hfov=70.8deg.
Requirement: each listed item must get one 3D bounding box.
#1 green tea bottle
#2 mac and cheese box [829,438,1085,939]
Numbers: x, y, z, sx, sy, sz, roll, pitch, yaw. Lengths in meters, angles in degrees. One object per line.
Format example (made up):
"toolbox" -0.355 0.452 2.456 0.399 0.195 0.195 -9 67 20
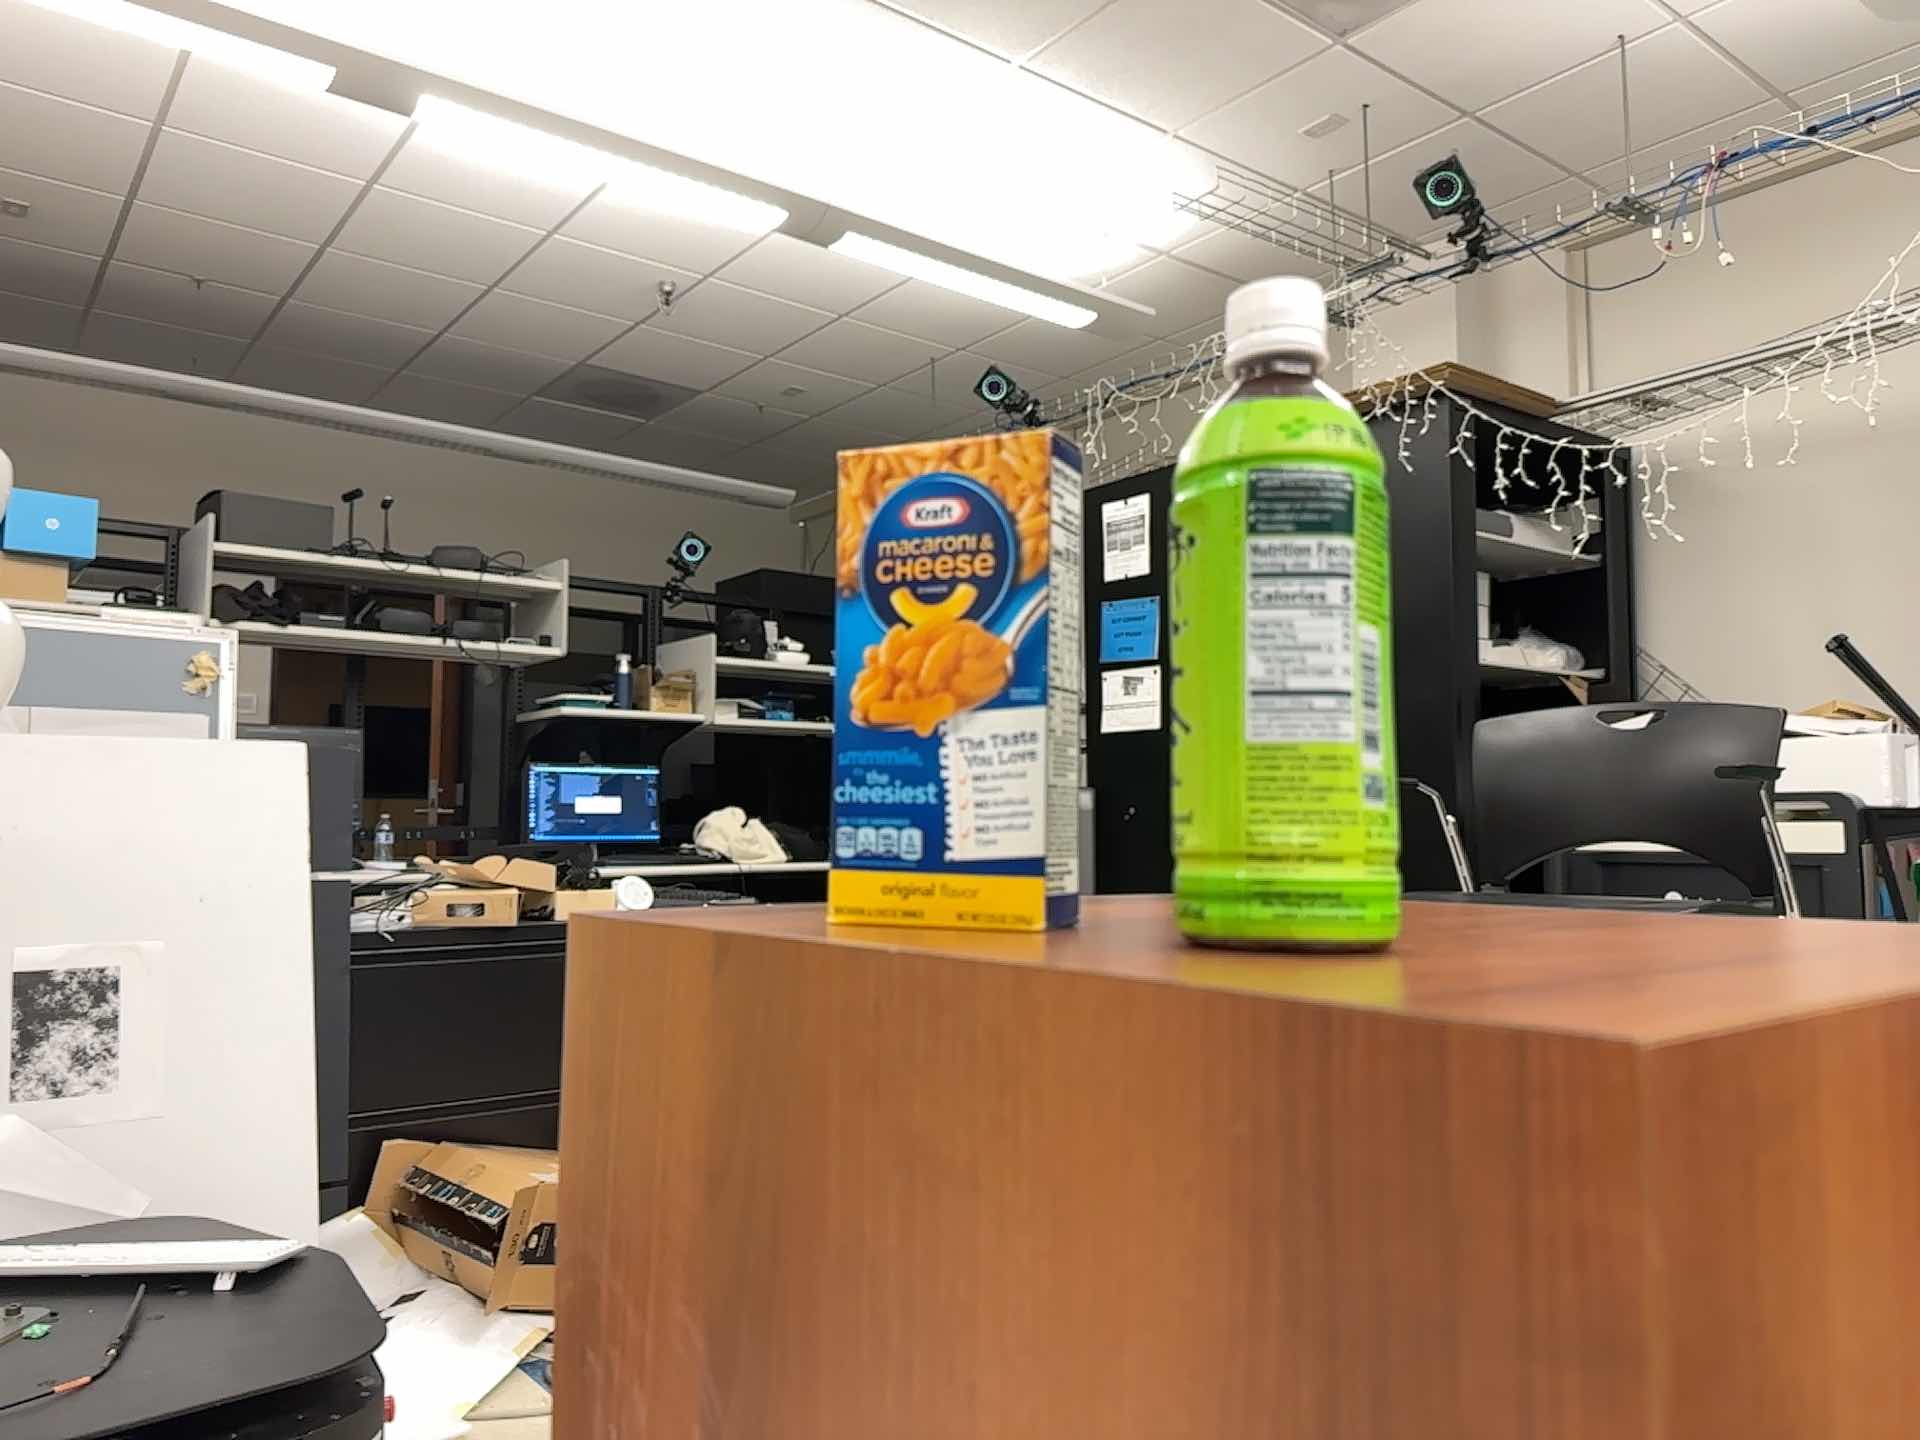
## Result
"green tea bottle" 0.102 -0.036 0.434 0.073 0.212 0.073 3 -7 0
"mac and cheese box" -0.001 -0.009 0.518 0.088 0.181 0.035 -3 -8 28
